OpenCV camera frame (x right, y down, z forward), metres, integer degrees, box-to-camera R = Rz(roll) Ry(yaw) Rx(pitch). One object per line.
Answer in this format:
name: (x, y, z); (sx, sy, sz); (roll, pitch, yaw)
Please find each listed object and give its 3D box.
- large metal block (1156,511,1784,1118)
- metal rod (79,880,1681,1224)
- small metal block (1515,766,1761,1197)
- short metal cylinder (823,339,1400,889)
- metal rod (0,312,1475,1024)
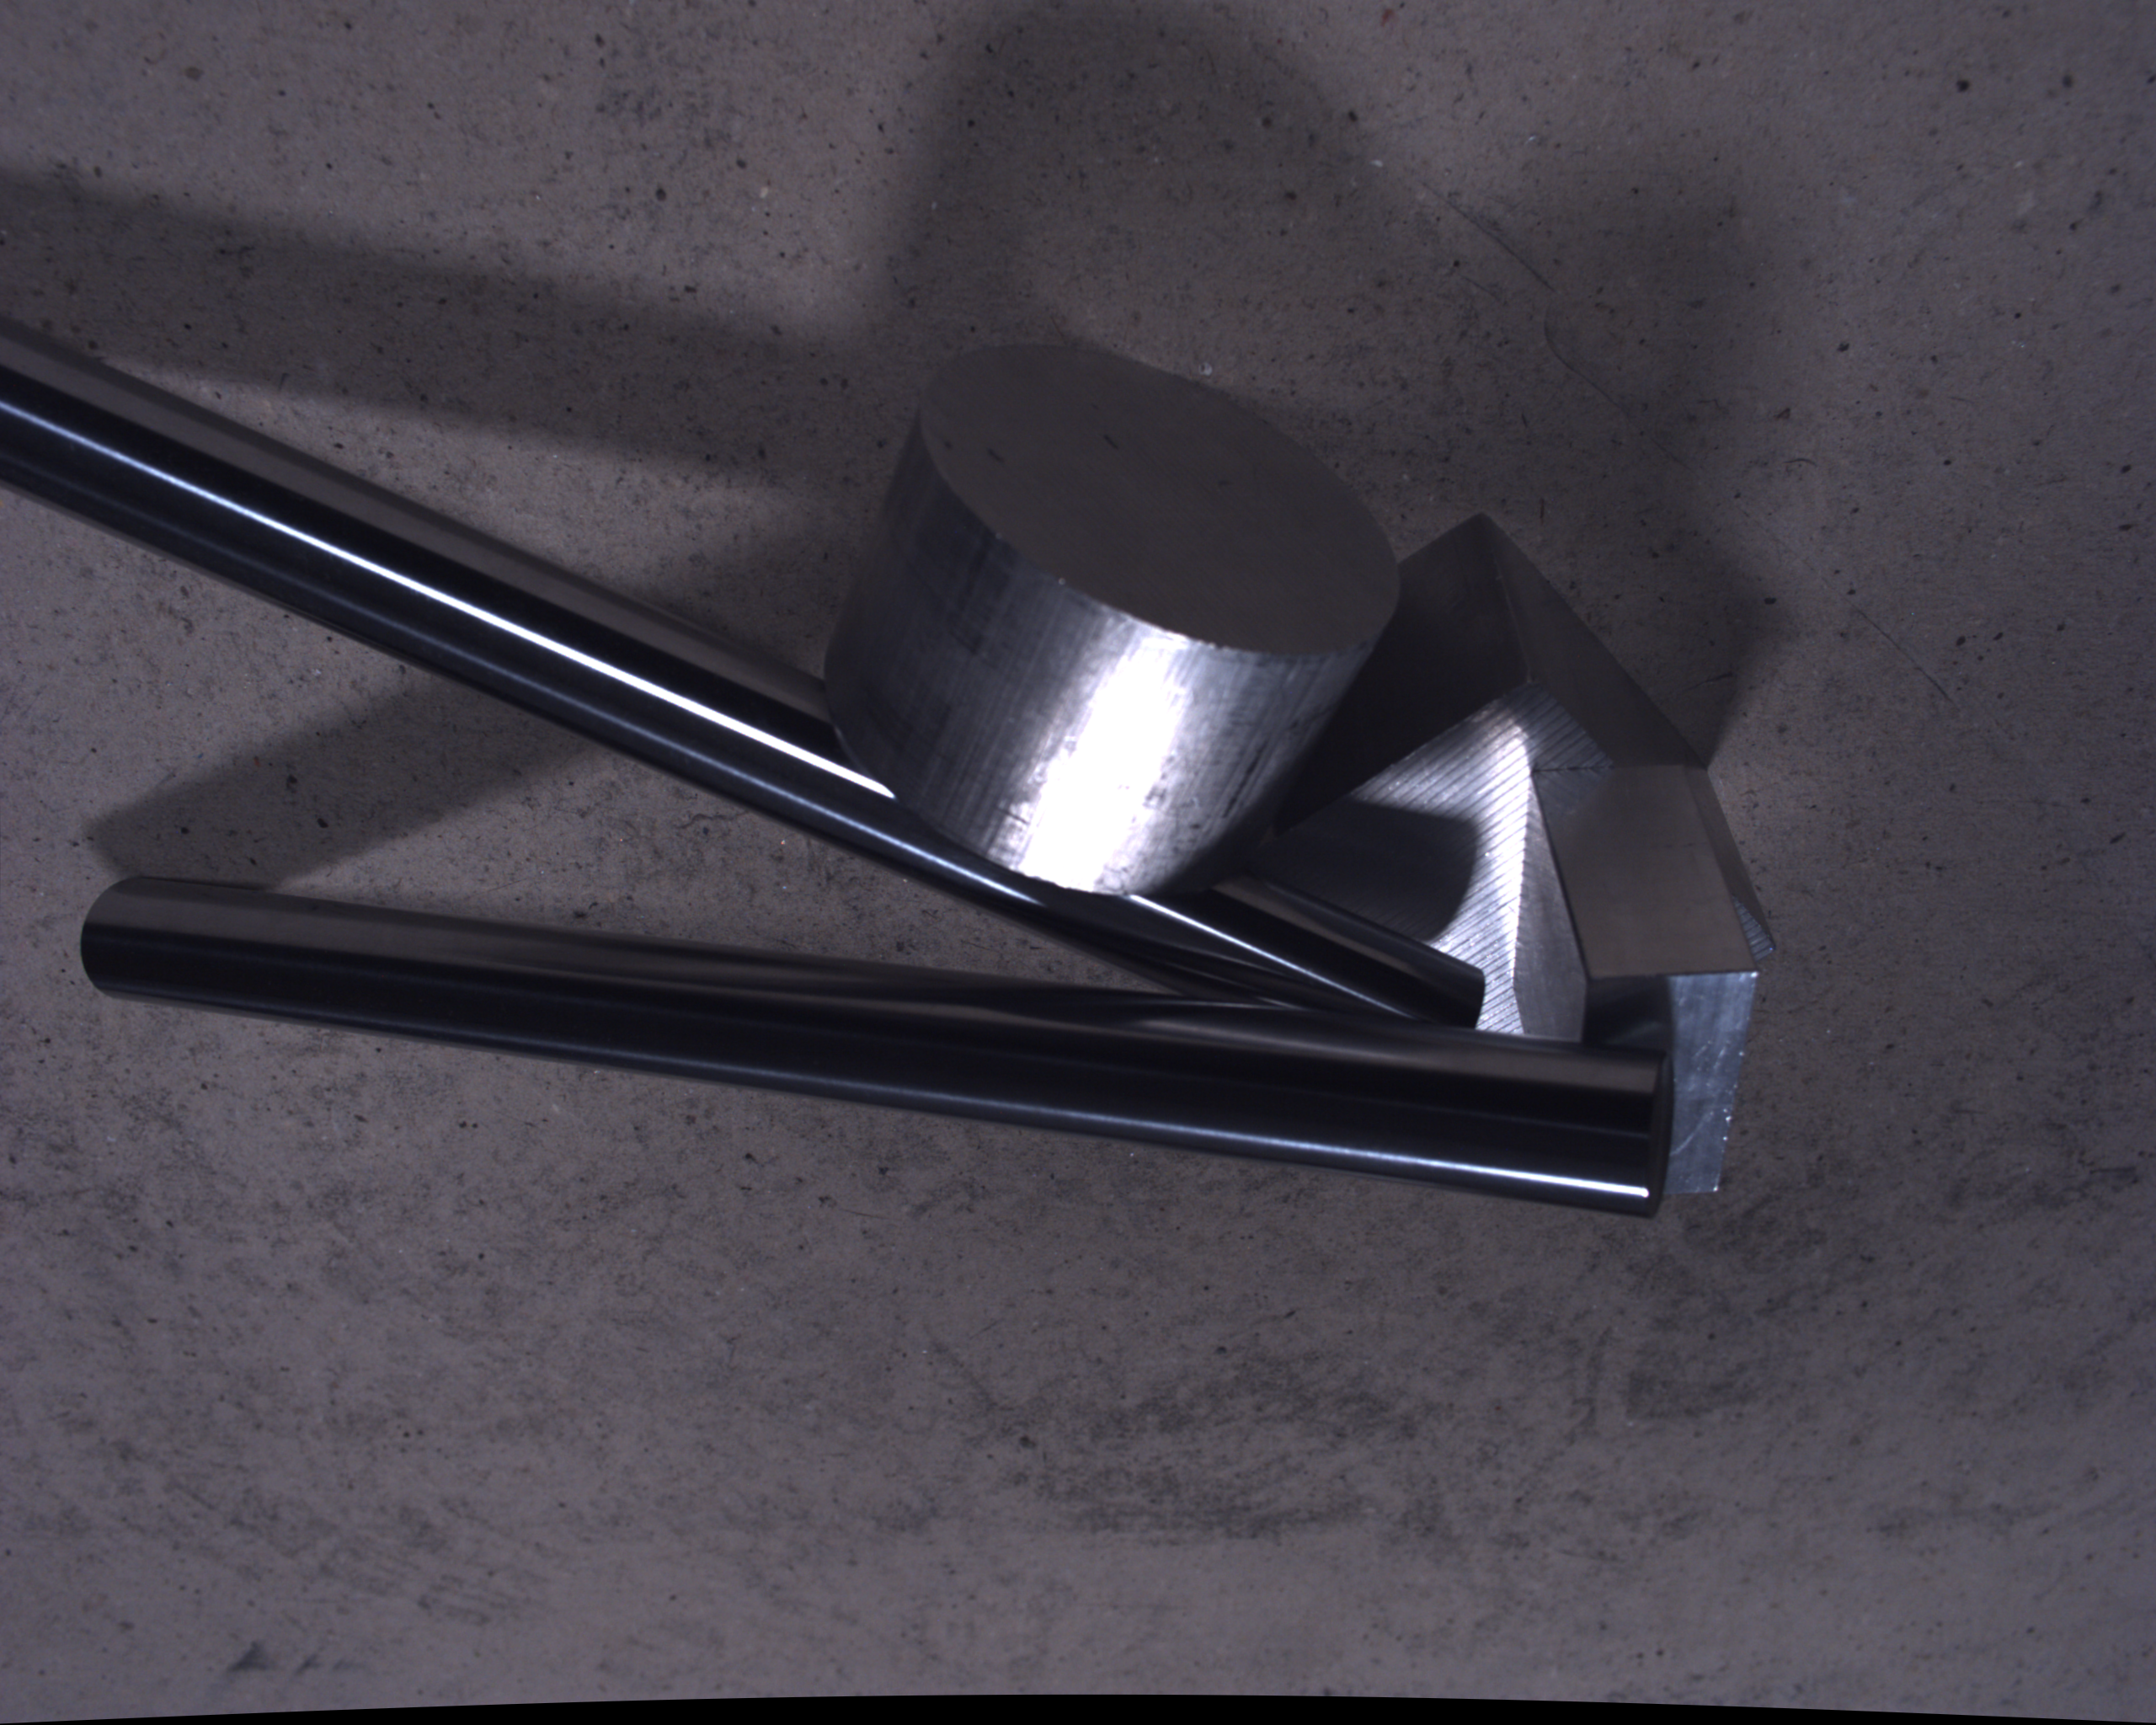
large metal block: (0.069, -0.004, 0.388); (0.080, 0.050, 0.080); (-33, 123, 26)
metal rod: (-0.052, 0.028, 0.362); (0.301, 0.025, 0.025); (5, 134, 23)
small metal block: (0.089, 0.020, 0.341); (0.025, 0.050, 0.050); (-3, 130, 3)
short metal cylinder: (0.005, -0.041, 0.339); (0.081, 0.080, 0.050); (16, 128, -14)
metal rod: (-0.076, -0.033, 0.342); (0.301, 0.025, 0.025); (23, 127, -5)
